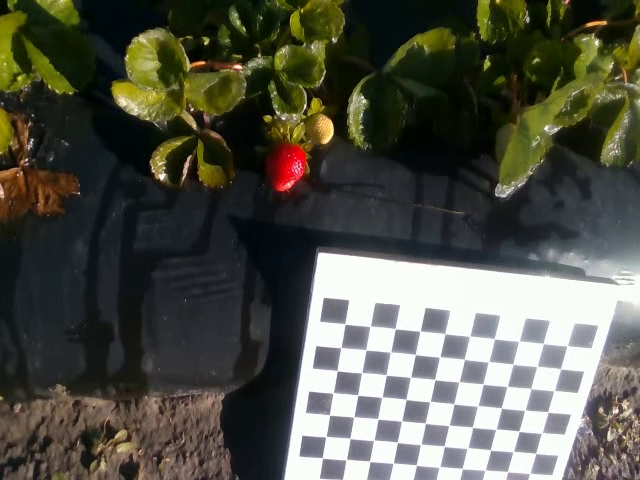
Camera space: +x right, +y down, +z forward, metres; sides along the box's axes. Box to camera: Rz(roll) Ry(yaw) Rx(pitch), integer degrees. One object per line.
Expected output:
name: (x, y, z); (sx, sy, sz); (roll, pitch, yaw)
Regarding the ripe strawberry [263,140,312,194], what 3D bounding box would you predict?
ripe strawberry: (-0.023, -0.045, 0.425); (0.039, 0.040, 0.039); (0, 43, 6)
